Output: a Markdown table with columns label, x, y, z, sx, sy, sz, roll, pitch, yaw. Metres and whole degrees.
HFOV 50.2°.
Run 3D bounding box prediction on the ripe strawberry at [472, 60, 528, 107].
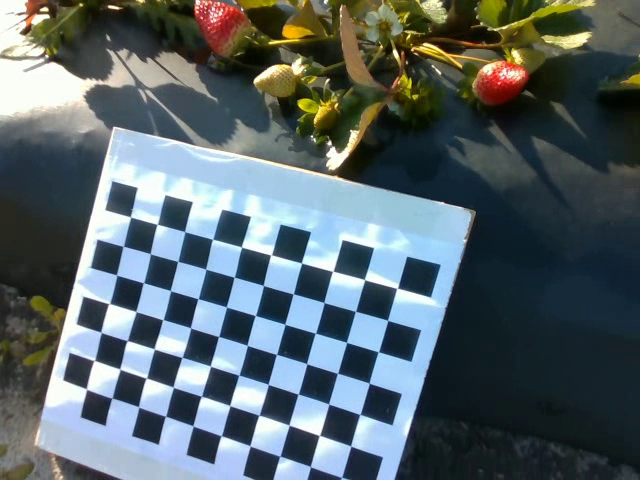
| label | x | y | z | sx | sy | sz | roll | pitch | yaw |
| --- | --- | --- | --- | --- | --- | --- | --- | --- | --- |
| ripe strawberry | 0.117 | -0.098 | 0.425 | 0.042 | 0.037 | 0.045 | -2 | -3 | -13 |

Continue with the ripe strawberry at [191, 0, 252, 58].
| label | x | y | z | sx | sy | sz | roll | pitch | yaw |
| --- | --- | --- | --- | --- | --- | --- | --- | --- | --- |
| ripe strawberry | -0.072 | -0.159 | 0.492 | 0.053 | 0.044 | 0.036 | 42 | 10 | 6 |
